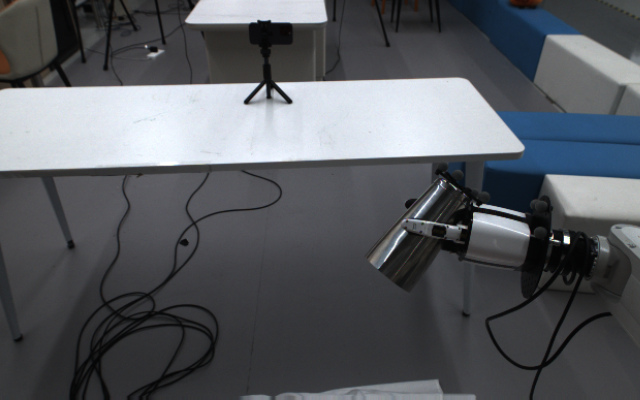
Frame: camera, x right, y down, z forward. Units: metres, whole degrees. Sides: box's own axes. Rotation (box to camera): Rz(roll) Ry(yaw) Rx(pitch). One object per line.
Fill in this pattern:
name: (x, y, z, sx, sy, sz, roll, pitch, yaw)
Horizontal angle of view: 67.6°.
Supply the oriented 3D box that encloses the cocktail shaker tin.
cocktail shaker tin: (0.160, 0.047, 0.766, 0.170, 0.093, 0.093, -50, 46, 4)
